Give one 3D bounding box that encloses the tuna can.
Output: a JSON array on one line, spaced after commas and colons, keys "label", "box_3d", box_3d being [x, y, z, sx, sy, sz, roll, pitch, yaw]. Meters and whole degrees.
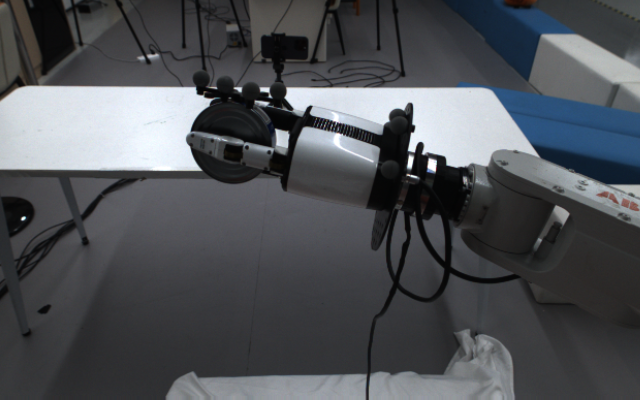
[{"label": "tuna can", "box_3d": [-0.089, -0.063, 0.511, 0.085, 0.085, 0.034, 5, 18, 4]}]
